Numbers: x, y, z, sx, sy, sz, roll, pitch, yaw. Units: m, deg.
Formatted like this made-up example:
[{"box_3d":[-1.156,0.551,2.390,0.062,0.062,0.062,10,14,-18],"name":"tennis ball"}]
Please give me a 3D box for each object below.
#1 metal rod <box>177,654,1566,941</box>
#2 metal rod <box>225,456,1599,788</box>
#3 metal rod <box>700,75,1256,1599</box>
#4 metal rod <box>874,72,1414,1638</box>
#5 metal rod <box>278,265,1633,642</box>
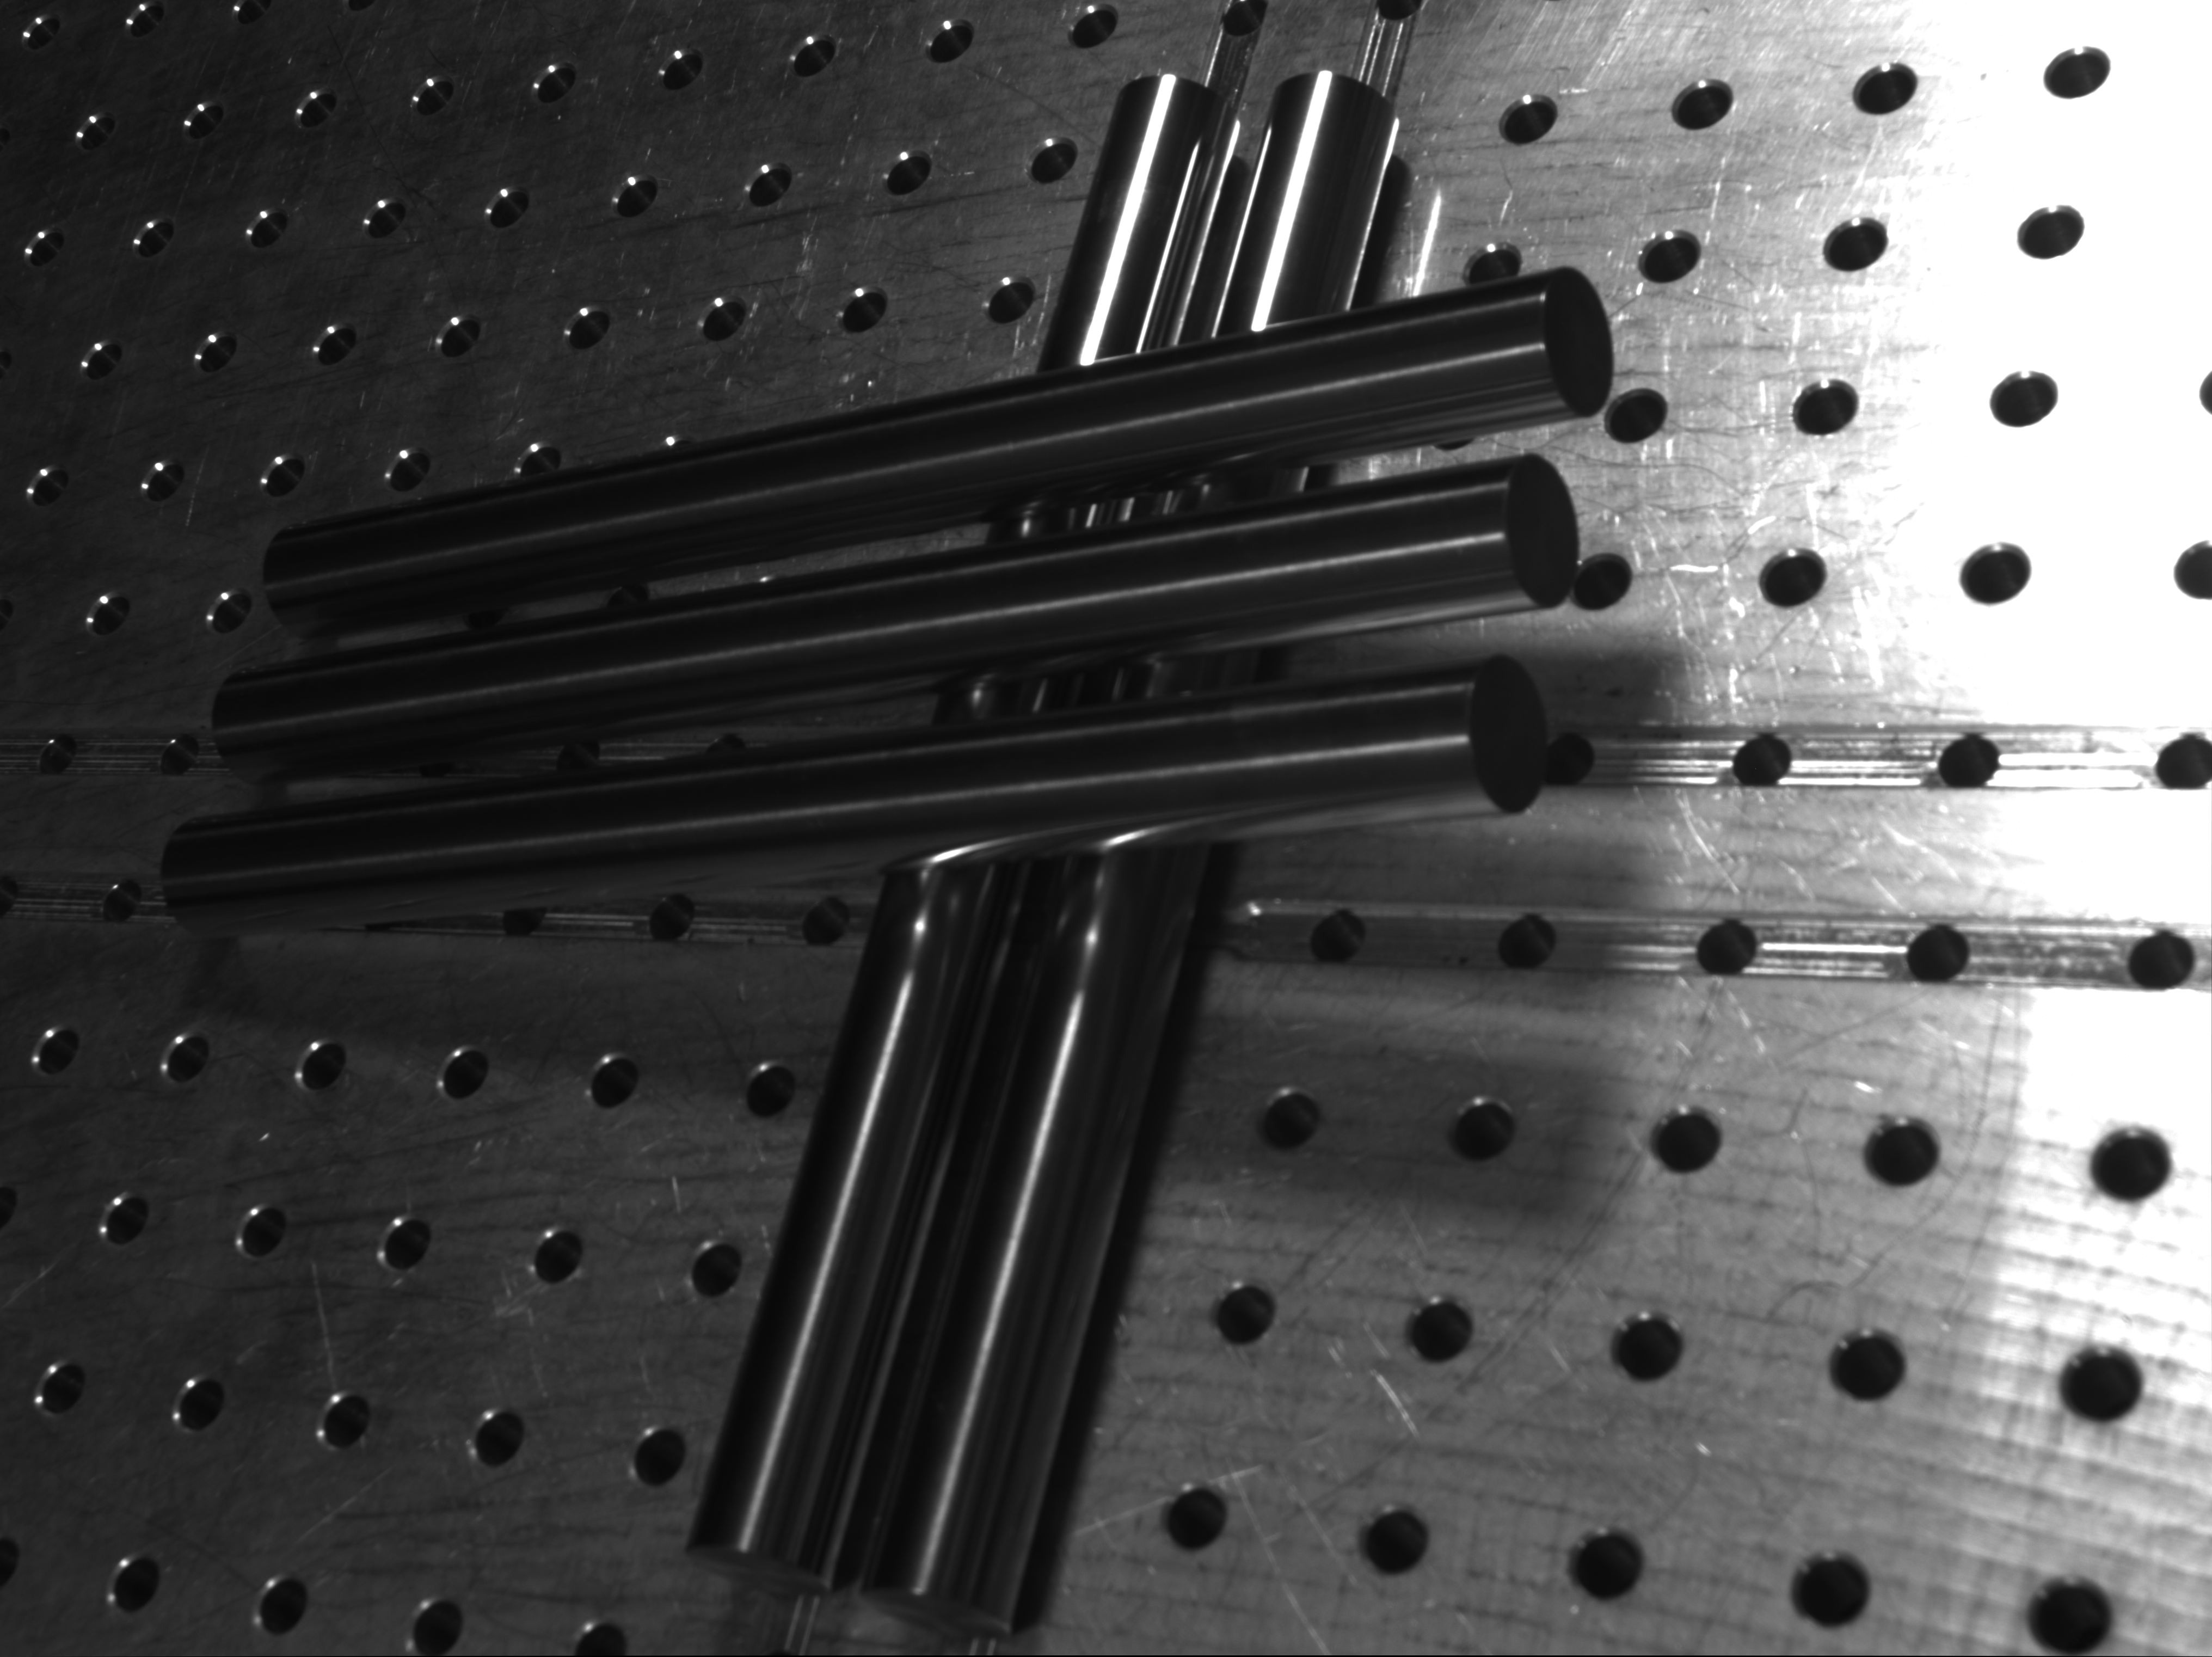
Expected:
[{"box_3d":[-0.056,-0.002,0.652,0.299,0.025,0.025,-6,58,35],"name":"metal rod"},{"box_3d":[-0.050,-0.034,0.668,0.299,0.025,0.025,-6,58,35],"name":"metal rod"},{"box_3d":[-0.019,-0.009,0.663,0.025,0.025,0.300,1,62,29],"name":"metal rod"},{"box_3d":[0.011,-0.006,0.646,0.025,0.025,0.300,1,62,29],"name":"metal rod"},{"box_3d":[-0.042,-0.066,0.684,0.299,0.025,0.025,-7,58,35],"name":"metal rod"}]
